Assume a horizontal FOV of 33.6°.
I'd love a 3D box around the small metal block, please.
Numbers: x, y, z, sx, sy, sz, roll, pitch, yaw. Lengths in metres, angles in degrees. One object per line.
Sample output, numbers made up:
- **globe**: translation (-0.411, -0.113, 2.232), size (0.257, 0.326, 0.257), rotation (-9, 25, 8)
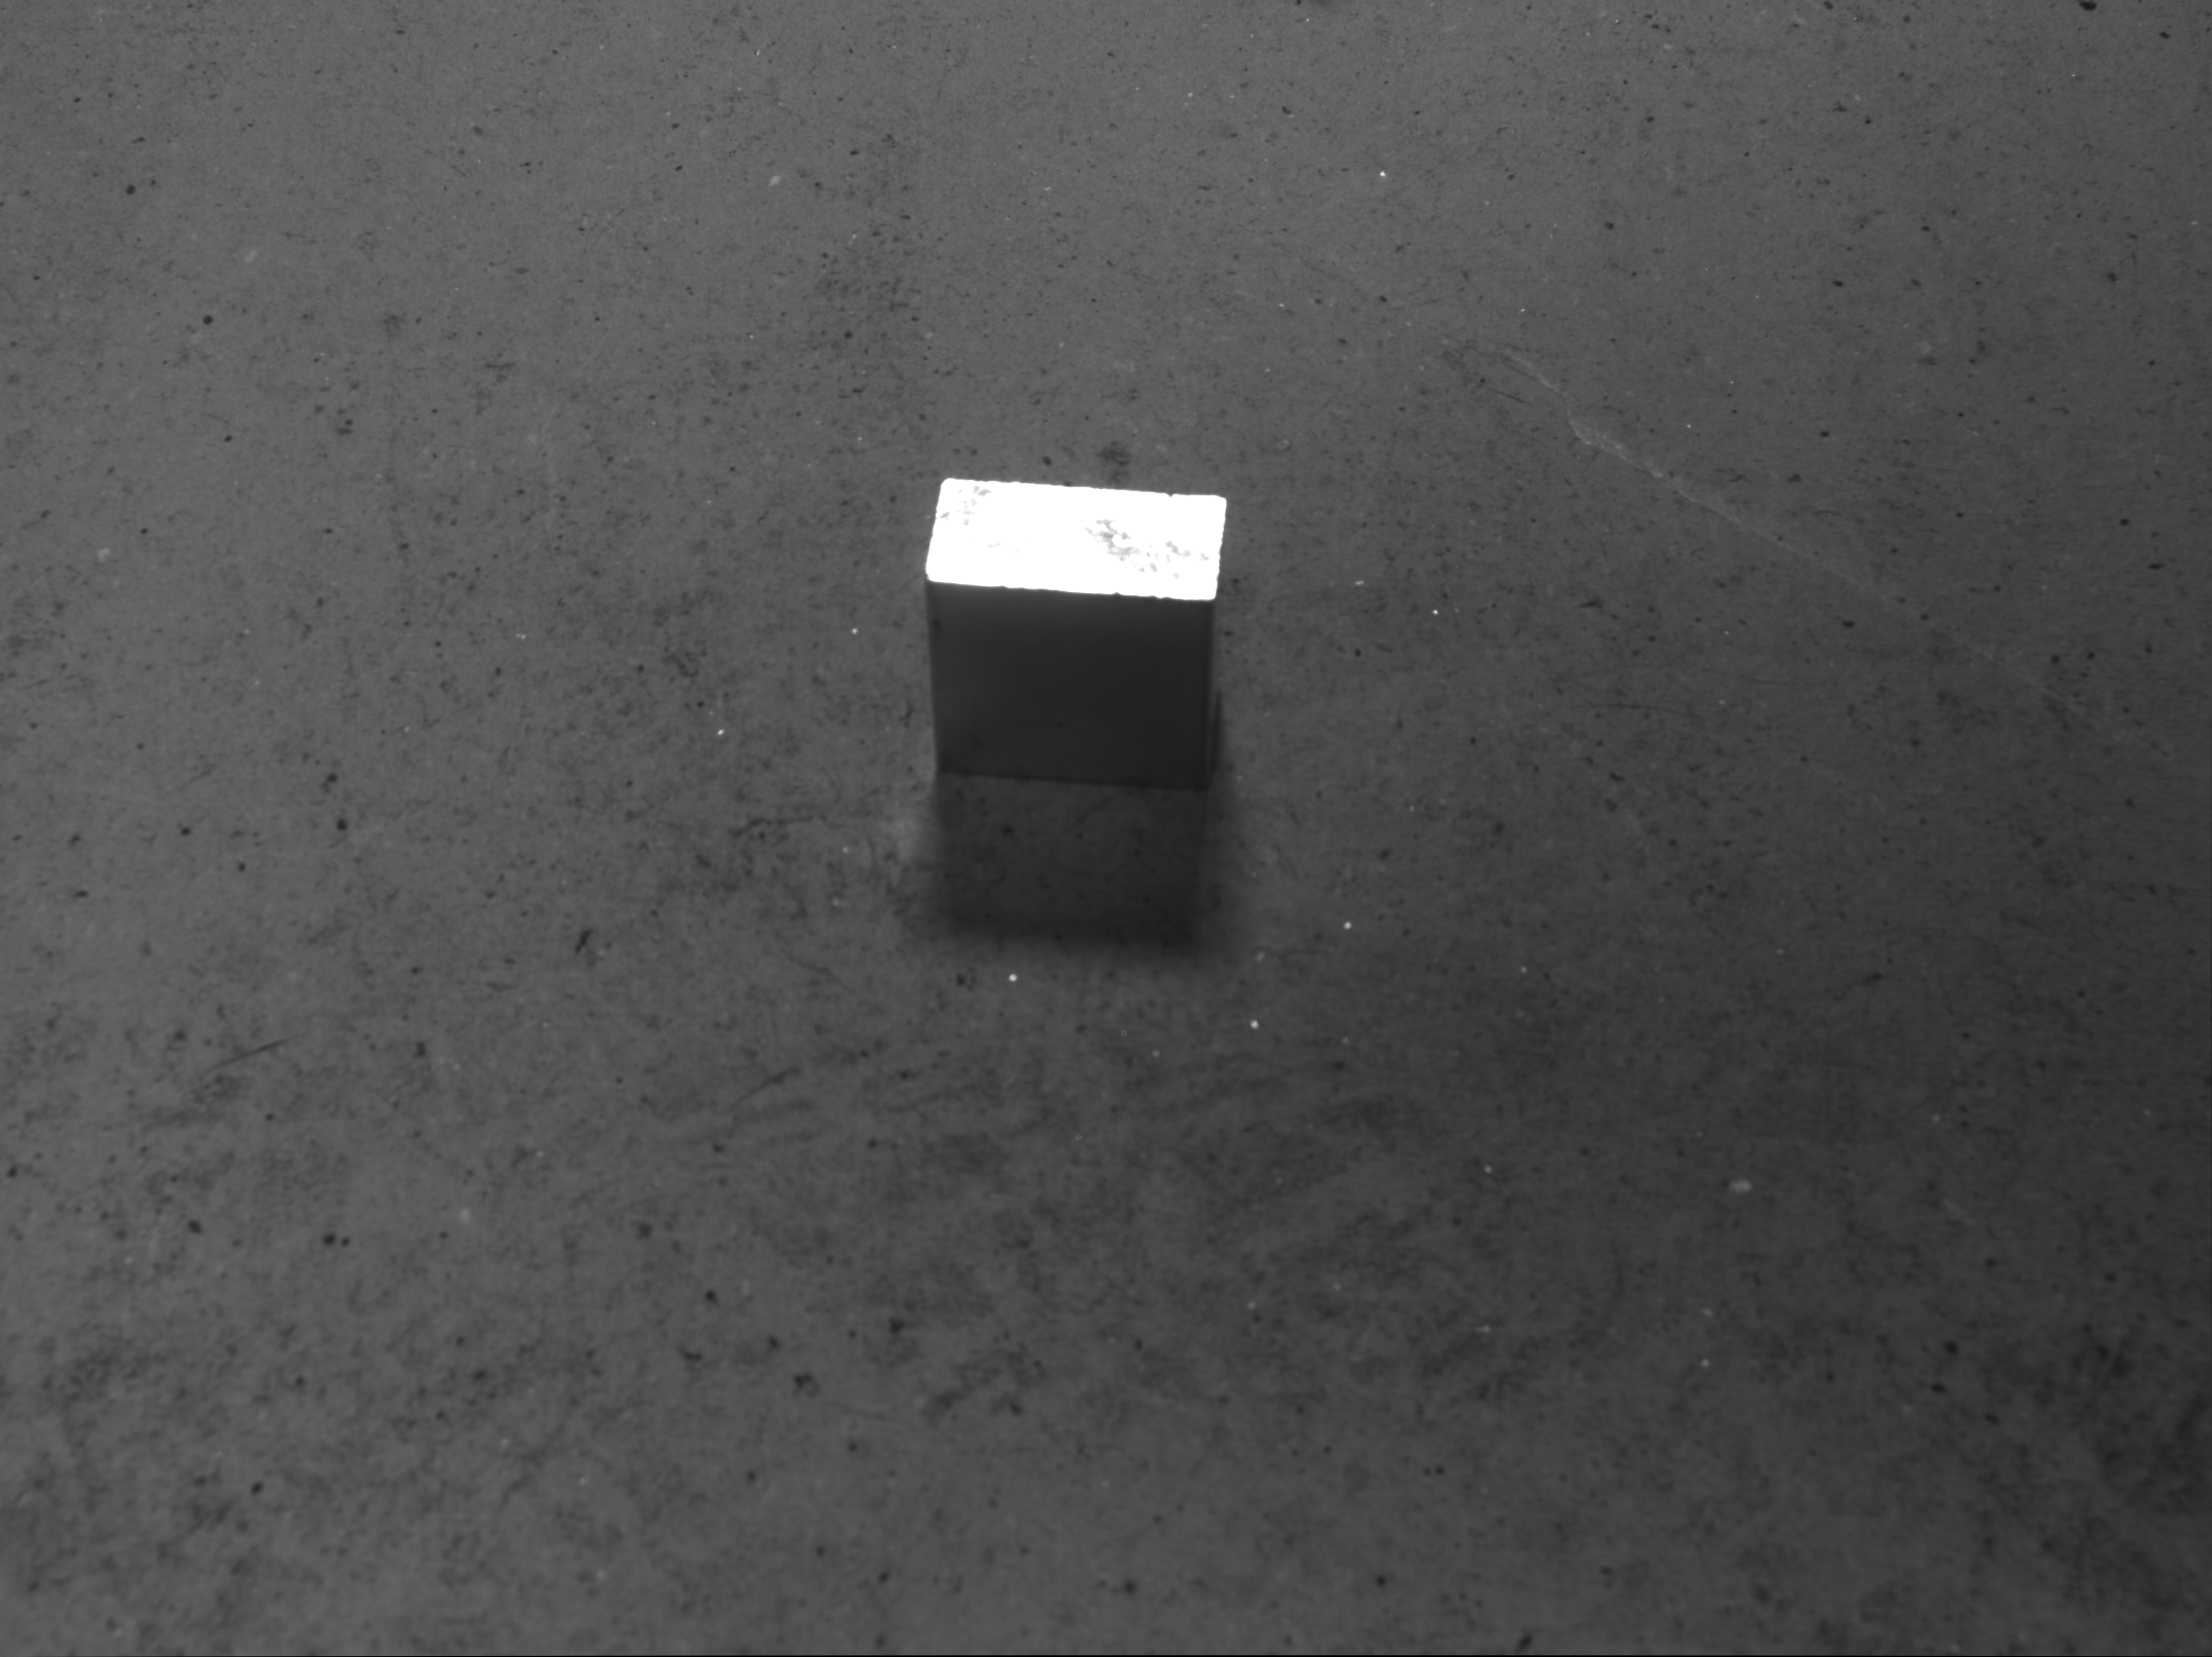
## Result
- **small metal block**: translation (-0.002, -0.034, 0.654), size (0.050, 0.050, 0.025), rotation (4, 50, 4)
